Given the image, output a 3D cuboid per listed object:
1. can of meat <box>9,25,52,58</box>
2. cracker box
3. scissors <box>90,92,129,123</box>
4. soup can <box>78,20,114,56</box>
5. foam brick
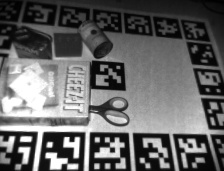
[{"bbox_3d":[-0.223,-0.113,0.602,0.102,0.084,0.058,15,62,-3],"label":"can of meat"},{"bbox_3d":[-0.166,0.011,0.542,0.214,0.072,0.163,-4,63,-9],"label":"cracker box"},{"bbox_3d":[-0.056,0.062,0.573,0.204,0.016,0.087,-2,64,-12],"label":"scissors"},{"bbox_3d":[-0.052,-0.149,0.676,0.068,0.068,0.101,-34,68,-24],"label":"soup can"},{"bbox_3d":[-0.132,-0.128,0.650,0.078,0.051,0.052,-7,65,-14],"label":"foam brick"}]
